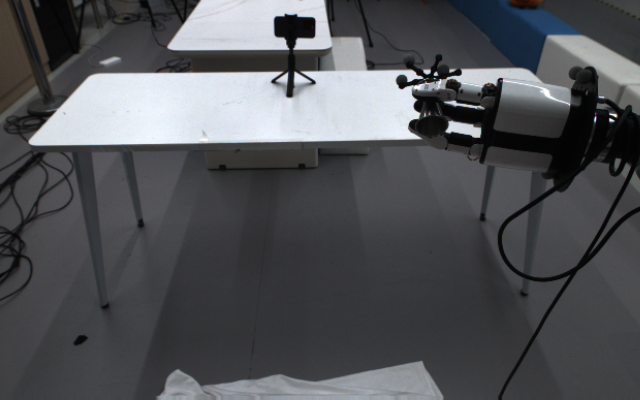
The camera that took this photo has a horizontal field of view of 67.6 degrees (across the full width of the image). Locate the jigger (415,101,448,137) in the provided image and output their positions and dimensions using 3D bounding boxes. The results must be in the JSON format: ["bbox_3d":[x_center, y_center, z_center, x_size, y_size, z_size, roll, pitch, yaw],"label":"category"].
[{"bbox_3d":[0.150,-0.128,0.659,0.043,0.043,0.071,4,61,2],"label":"jigger"}]
